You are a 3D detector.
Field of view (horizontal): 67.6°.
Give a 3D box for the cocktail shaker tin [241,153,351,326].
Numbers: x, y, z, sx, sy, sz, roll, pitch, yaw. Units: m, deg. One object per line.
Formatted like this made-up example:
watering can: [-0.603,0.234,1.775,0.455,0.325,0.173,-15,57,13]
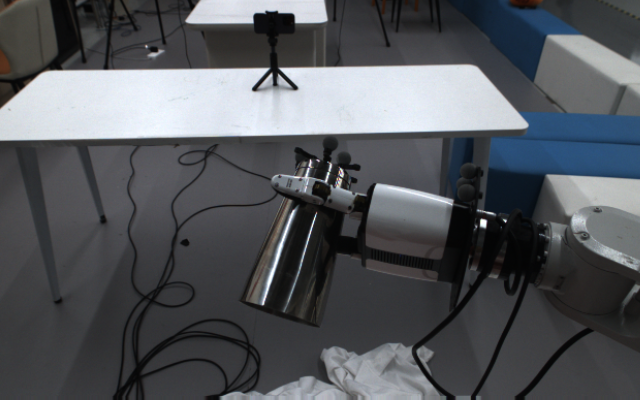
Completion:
cocktail shaker tin: [-0.017,0.042,0.541,0.093,0.093,0.170,13,71,15]
